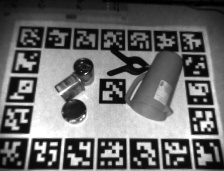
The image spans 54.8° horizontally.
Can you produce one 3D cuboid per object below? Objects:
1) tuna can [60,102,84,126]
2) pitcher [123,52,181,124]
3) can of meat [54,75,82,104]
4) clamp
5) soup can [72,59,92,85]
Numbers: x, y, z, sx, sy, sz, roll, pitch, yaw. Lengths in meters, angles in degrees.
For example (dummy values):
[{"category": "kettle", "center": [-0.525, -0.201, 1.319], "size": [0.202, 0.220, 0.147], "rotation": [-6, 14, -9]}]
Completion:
[{"category": "tuna can", "center": [-0.144, 0.105, 0.786], "size": [0.086, 0.034, 0.085], "rotation": [1, 73, -2]}, {"category": "pitcher", "center": [0.155, 0.001, 0.781], "size": [0.186, 0.135, 0.243], "rotation": [13, 62, 26]}, {"category": "can of meat", "center": [-0.161, 0.017, 0.777], "size": [0.084, 0.102, 0.057], "rotation": [-35, 76, -9]}, {"category": "clamp", "center": [0.043, -0.085, 0.869], "size": [0.165, 0.036, 0.121], "rotation": [4, 67, -5]}, {"category": "soup can", "center": [-0.114, -0.046, 0.805], "size": [0.068, 0.102, 0.068], "rotation": [0, 73, 1]}]
